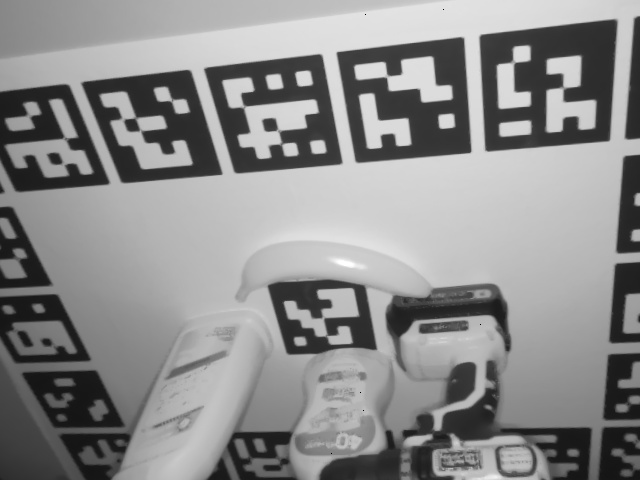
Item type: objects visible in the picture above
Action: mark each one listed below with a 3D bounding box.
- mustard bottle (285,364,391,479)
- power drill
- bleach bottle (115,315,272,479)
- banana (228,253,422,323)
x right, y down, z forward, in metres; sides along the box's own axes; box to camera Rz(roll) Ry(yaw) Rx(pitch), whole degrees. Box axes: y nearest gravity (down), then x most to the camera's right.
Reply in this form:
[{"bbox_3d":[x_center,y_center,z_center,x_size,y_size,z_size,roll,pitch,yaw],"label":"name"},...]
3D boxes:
[{"bbox_3d":[0.016,0.207,0.693,0.096,0.194,0.058,-2,122,12],"label":"mustard bottle"},{"bbox_3d":[0.103,0.161,0.628,0.183,0.189,0.057,-4,128,15],"label":"power drill"},{"bbox_3d":[-0.123,0.177,0.670,0.102,0.253,0.067,-10,118,16],"label":"bleach bottle"},{"bbox_3d":[0.000,0.048,0.685,0.197,0.039,0.074,-1,117,7],"label":"banana"}]
